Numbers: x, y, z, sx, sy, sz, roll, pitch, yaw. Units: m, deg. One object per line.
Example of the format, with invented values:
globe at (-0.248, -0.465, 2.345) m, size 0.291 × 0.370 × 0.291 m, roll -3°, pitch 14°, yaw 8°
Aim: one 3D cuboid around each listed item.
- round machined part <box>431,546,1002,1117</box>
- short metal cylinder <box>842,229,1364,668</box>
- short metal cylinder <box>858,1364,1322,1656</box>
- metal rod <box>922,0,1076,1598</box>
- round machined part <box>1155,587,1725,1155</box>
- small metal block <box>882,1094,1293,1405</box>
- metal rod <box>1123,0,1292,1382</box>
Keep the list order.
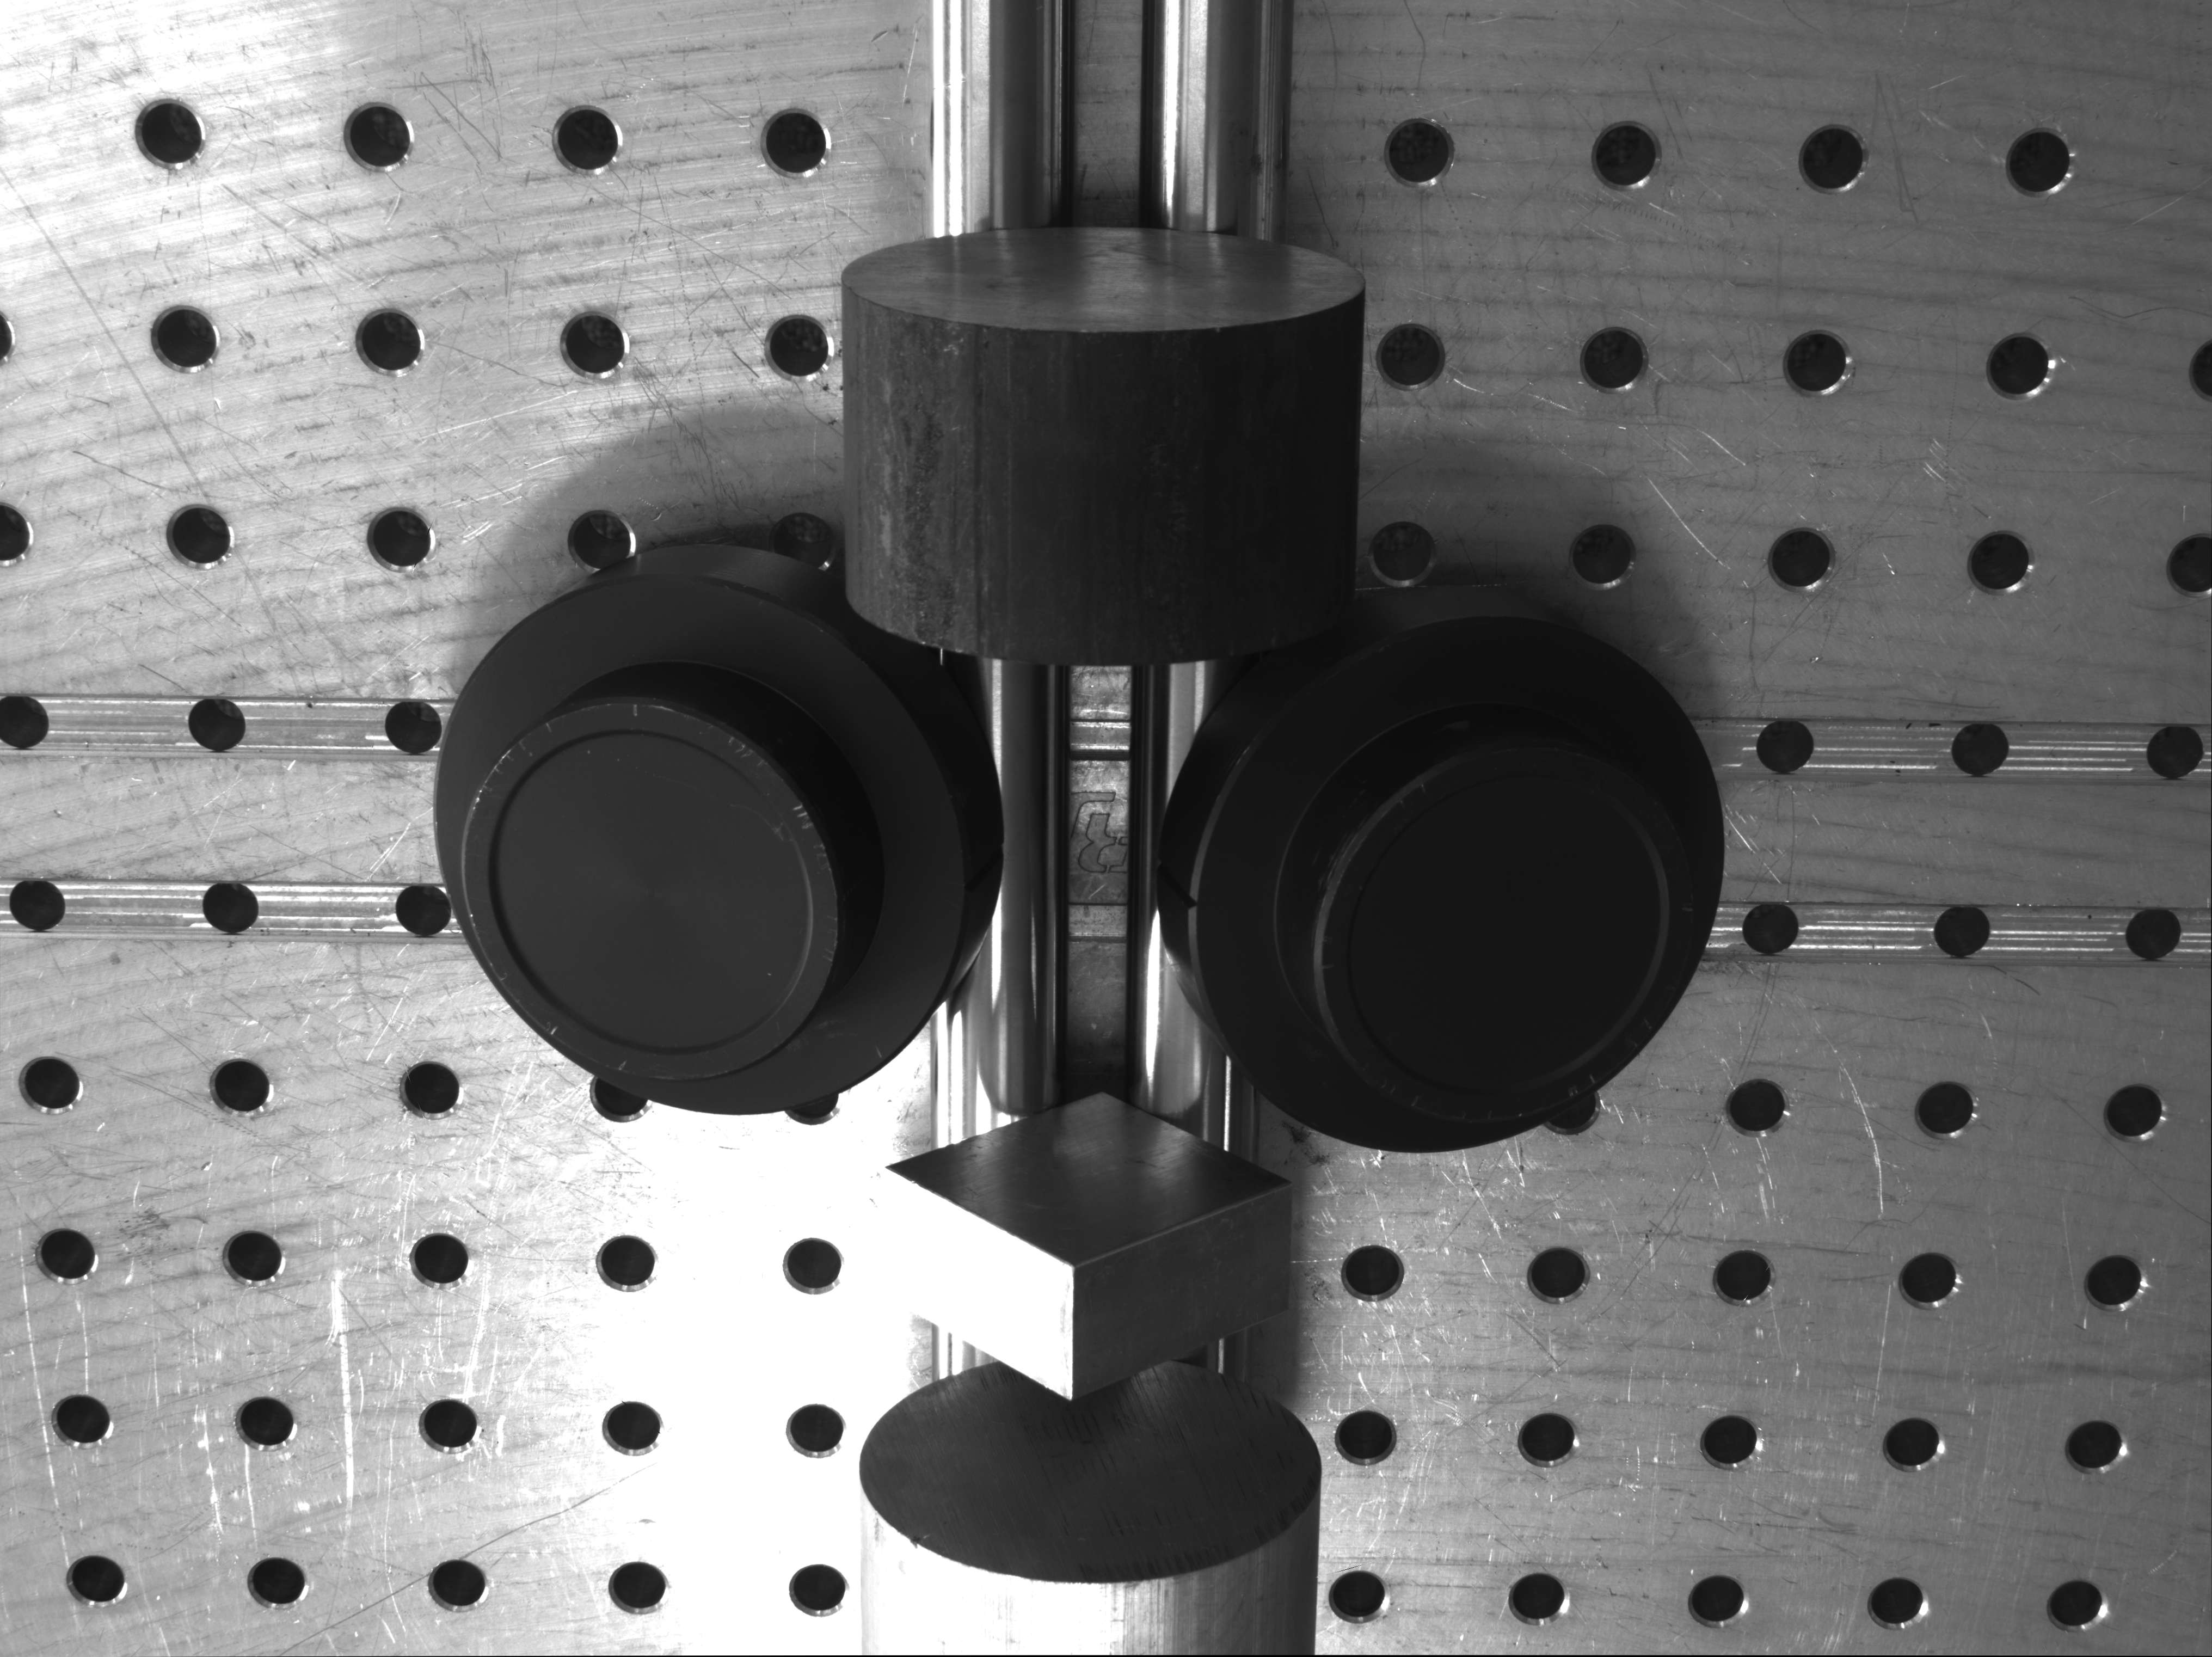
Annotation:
round machined part at (-0.070, 0.005, 0.625) m, size 0.098 × 0.042 × 0.098 m, roll 5°, pitch 110°, yaw 13°
short metal cylinder at (-0.001, -0.061, 0.571) m, size 0.080 × 0.080 × 0.050 m, roll 1°, pitch 110°, yaw 0°
short metal cylinder at (-0.003, 0.133, 0.642) m, size 0.080 × 0.080 × 0.050 m, roll 1°, pitch 110°, yaw 0°
metal rod at (-0.019, 0.001, 0.645) m, size 0.025 × 0.025 × 0.300 m, roll 1°, pitch 110°, yaw 0°
round machined part at (0.061, 0.011, 0.627) m, size 0.098 × 0.042 × 0.098 m, roll -5°, pitch 111°, yaw -14°
small metal block at (-0.004, 0.071, 0.634) m, size 0.050 × 0.050 × 0.025 m, roll -15°, pitch 116°, yaw -39°
metal rod at (0.016, -0.001, 0.645) m, size 0.025 × 0.025 × 0.300 m, roll 1°, pitch 110°, yaw 0°
